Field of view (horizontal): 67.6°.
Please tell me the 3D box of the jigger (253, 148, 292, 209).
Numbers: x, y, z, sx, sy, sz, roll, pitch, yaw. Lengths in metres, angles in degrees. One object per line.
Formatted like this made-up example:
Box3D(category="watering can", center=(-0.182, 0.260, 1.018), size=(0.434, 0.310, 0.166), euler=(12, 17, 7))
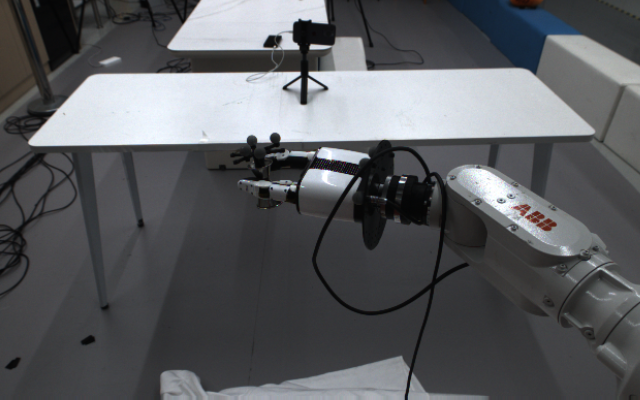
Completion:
Box3D(category="jigger", center=(-0.084, -0.027, 0.754), size=(0.043, 0.071, 0.043), euler=(-10, 24, 5))
